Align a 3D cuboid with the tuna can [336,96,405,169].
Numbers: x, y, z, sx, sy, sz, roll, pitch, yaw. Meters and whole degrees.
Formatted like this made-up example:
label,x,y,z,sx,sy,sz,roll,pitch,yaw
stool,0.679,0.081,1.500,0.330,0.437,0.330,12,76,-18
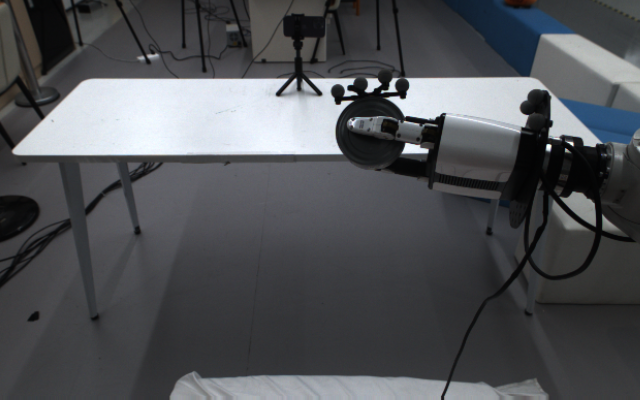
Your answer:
label,x,y,z,sx,sy,sz,roll,pitch,yaw
tuna can,0.064,-0.082,0.594,0.085,0.085,0.034,10,-7,12
